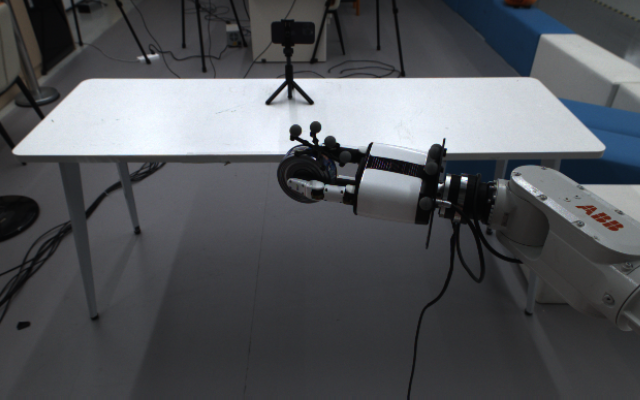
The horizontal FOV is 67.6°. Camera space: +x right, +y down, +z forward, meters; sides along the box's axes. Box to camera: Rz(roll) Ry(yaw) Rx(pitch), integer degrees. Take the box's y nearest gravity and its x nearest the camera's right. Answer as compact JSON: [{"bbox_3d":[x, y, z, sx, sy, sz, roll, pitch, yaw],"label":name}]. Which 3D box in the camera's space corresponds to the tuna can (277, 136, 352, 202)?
[{"bbox_3d":[-0.019,-0.039,0.721,0.085,0.085,0.034,12,35,14],"label":"tuna can"}]
